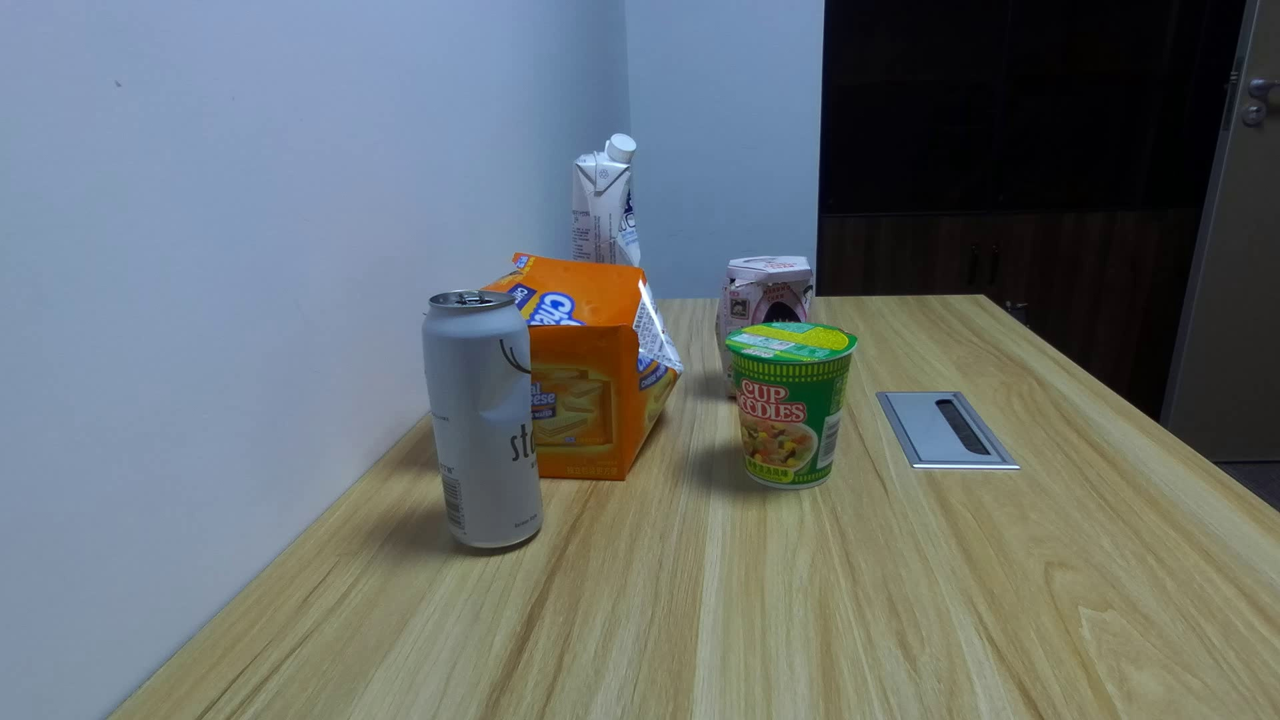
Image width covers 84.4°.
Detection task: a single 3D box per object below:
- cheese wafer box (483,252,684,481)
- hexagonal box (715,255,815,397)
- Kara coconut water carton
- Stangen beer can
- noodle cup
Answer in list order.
[{"bbox_3d":[-0.057,-0.007,0.644,0.191,0.145,0.219,0,19,8],"label":"cheese wafer box"},{"bbox_3d":[0.125,-0.032,0.705,0.091,0.134,0.090,3,17,18],"label":"hexagonal box"},{"bbox_3d":[-0.040,-0.120,0.794,0.078,0.255,0.083,3,19,9],"label":"Kara coconut water carton"},{"bbox_3d":[-0.101,0.039,0.475,0.069,0.173,0.070,0,17,8],"label":"Stangen beer can"},{"bbox_3d":[0.115,0.036,0.540,0.097,0.110,0.097,-3,18,1],"label":"noodle cup"}]
